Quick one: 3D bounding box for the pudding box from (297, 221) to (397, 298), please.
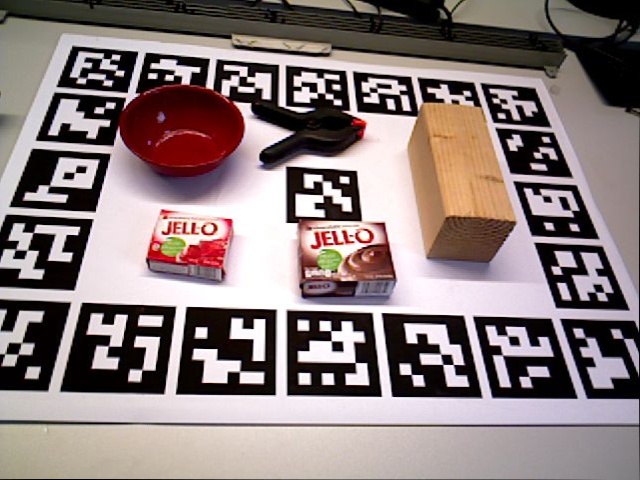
[{"bbox_3d":[0.029,0.023,0.647,0.113,0.039,0.089,1,59,-6],"label":"pudding box"}]

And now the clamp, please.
[{"bbox_3d":[-0.032,-0.156,0.775,0.163,0.037,0.120,-5,56,-15],"label":"clamp"}]

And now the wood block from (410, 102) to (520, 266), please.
[{"bbox_3d":[0.183,-0.078,0.711,0.089,0.093,0.203,5,55,-8],"label":"wood block"}]

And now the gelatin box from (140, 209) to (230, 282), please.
[{"bbox_3d":[-0.155,0.005,0.633,0.089,0.031,0.072,9,56,-3],"label":"gelatin box"}]

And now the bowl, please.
[{"bbox_3d":[-0.187,-0.137,0.722,0.160,0.056,0.159,4,57,-8],"label":"bowl"}]
